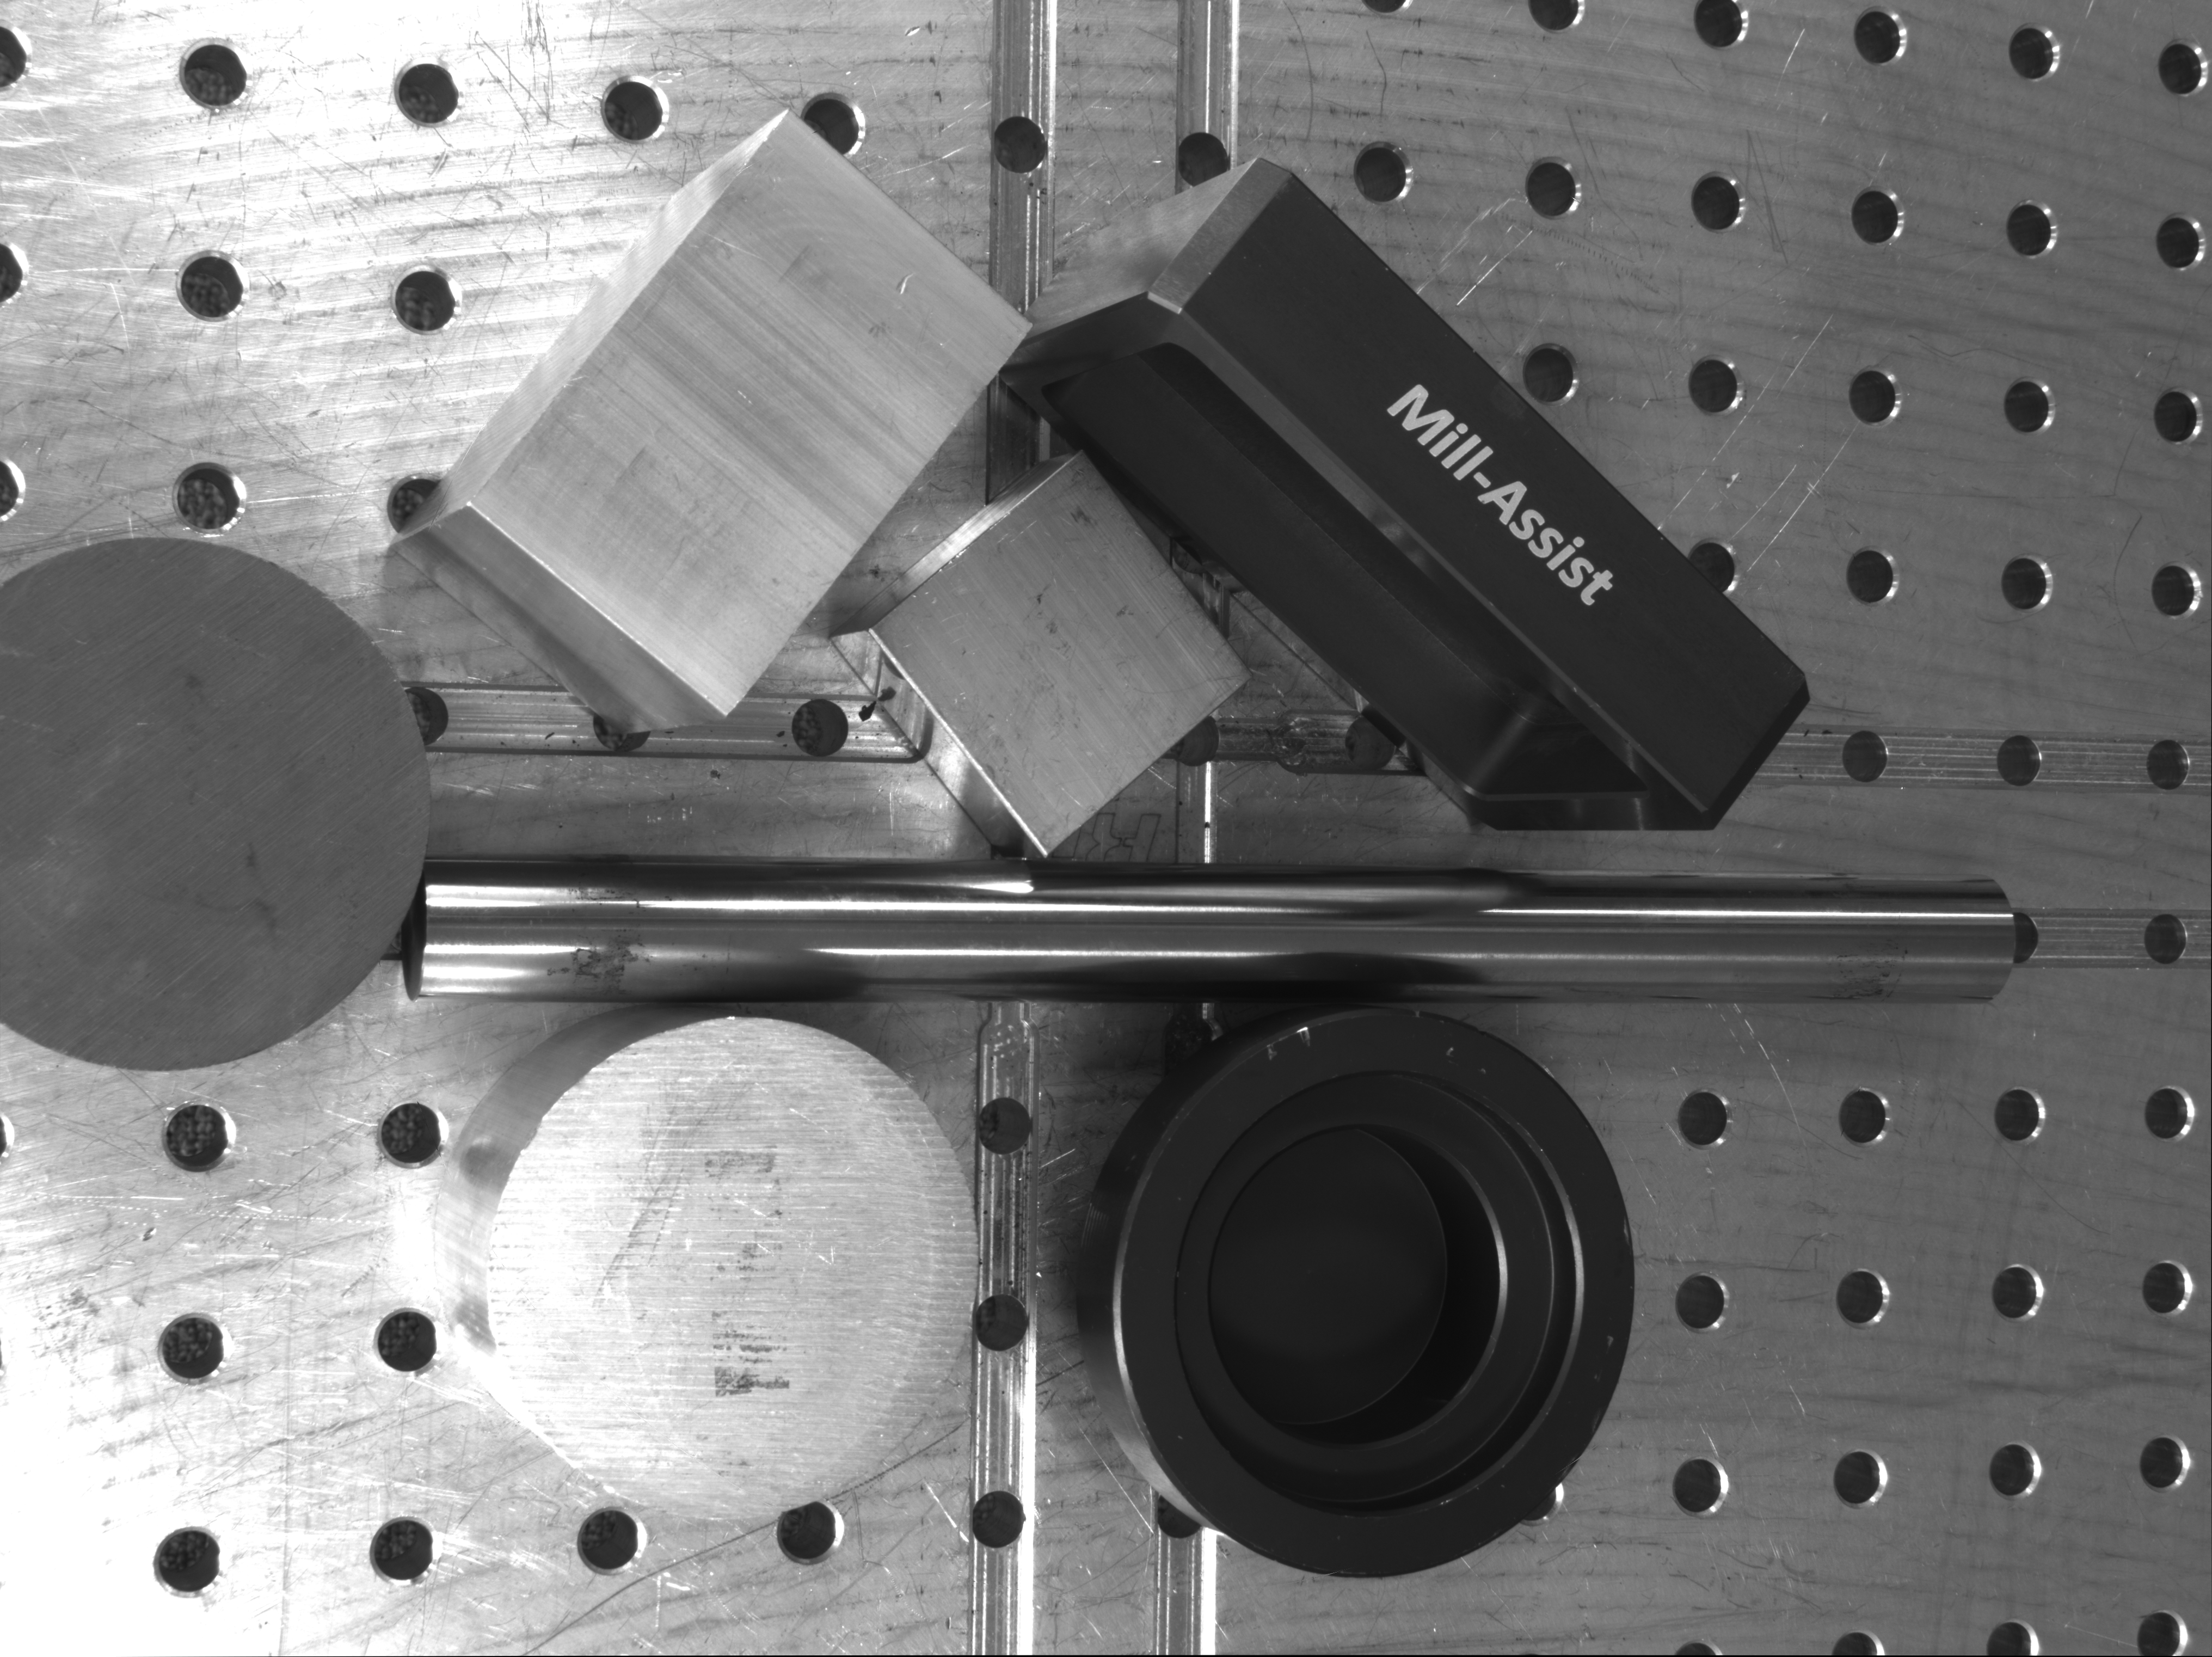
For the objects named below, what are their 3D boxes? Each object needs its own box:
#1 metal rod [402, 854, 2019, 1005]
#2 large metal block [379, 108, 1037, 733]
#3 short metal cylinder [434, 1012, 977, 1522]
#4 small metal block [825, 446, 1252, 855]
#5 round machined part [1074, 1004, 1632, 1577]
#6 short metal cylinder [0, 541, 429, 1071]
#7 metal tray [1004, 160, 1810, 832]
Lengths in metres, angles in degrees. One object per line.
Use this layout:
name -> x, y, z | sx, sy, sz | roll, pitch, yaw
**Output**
metal rod -> 0.027, 0.019, 0.655 | 0.301, 0.025, 0.025 | 1, 90, -20
large metal block -> -0.066, -0.063, 0.592 | 0.050, 0.080, 0.080 | 40, 77, -16
short metal cylinder -> -0.067, 0.070, 0.607 | 0.080, 0.050, 0.080 | 0, 90, -20
small metal block -> -0.012, -0.031, 0.641 | 0.050, 0.025, 0.050 | -41, 103, -15
round machined part -> 0.040, 0.080, 0.651 | 0.098, 0.042, 0.098 | 0, 90, -20
short metal cylinder -> -0.151, -0.003, 0.577 | 0.080, 0.050, 0.080 | 0, 90, -20
metal tray -> 0.048, -0.052, 0.628 | 0.130, 0.090, 0.030 | 42, 77, -15
